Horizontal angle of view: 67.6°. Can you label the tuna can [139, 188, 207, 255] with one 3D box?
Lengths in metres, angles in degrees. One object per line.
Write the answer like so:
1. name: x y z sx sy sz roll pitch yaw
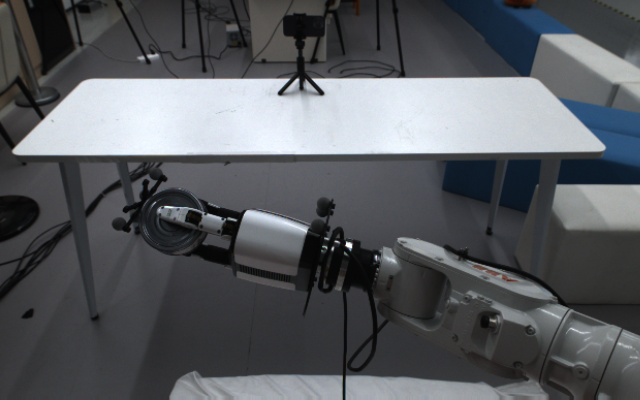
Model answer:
1. tuna can: -0.188 0.029 0.633 0.085 0.034 0.085 1 77 -5
